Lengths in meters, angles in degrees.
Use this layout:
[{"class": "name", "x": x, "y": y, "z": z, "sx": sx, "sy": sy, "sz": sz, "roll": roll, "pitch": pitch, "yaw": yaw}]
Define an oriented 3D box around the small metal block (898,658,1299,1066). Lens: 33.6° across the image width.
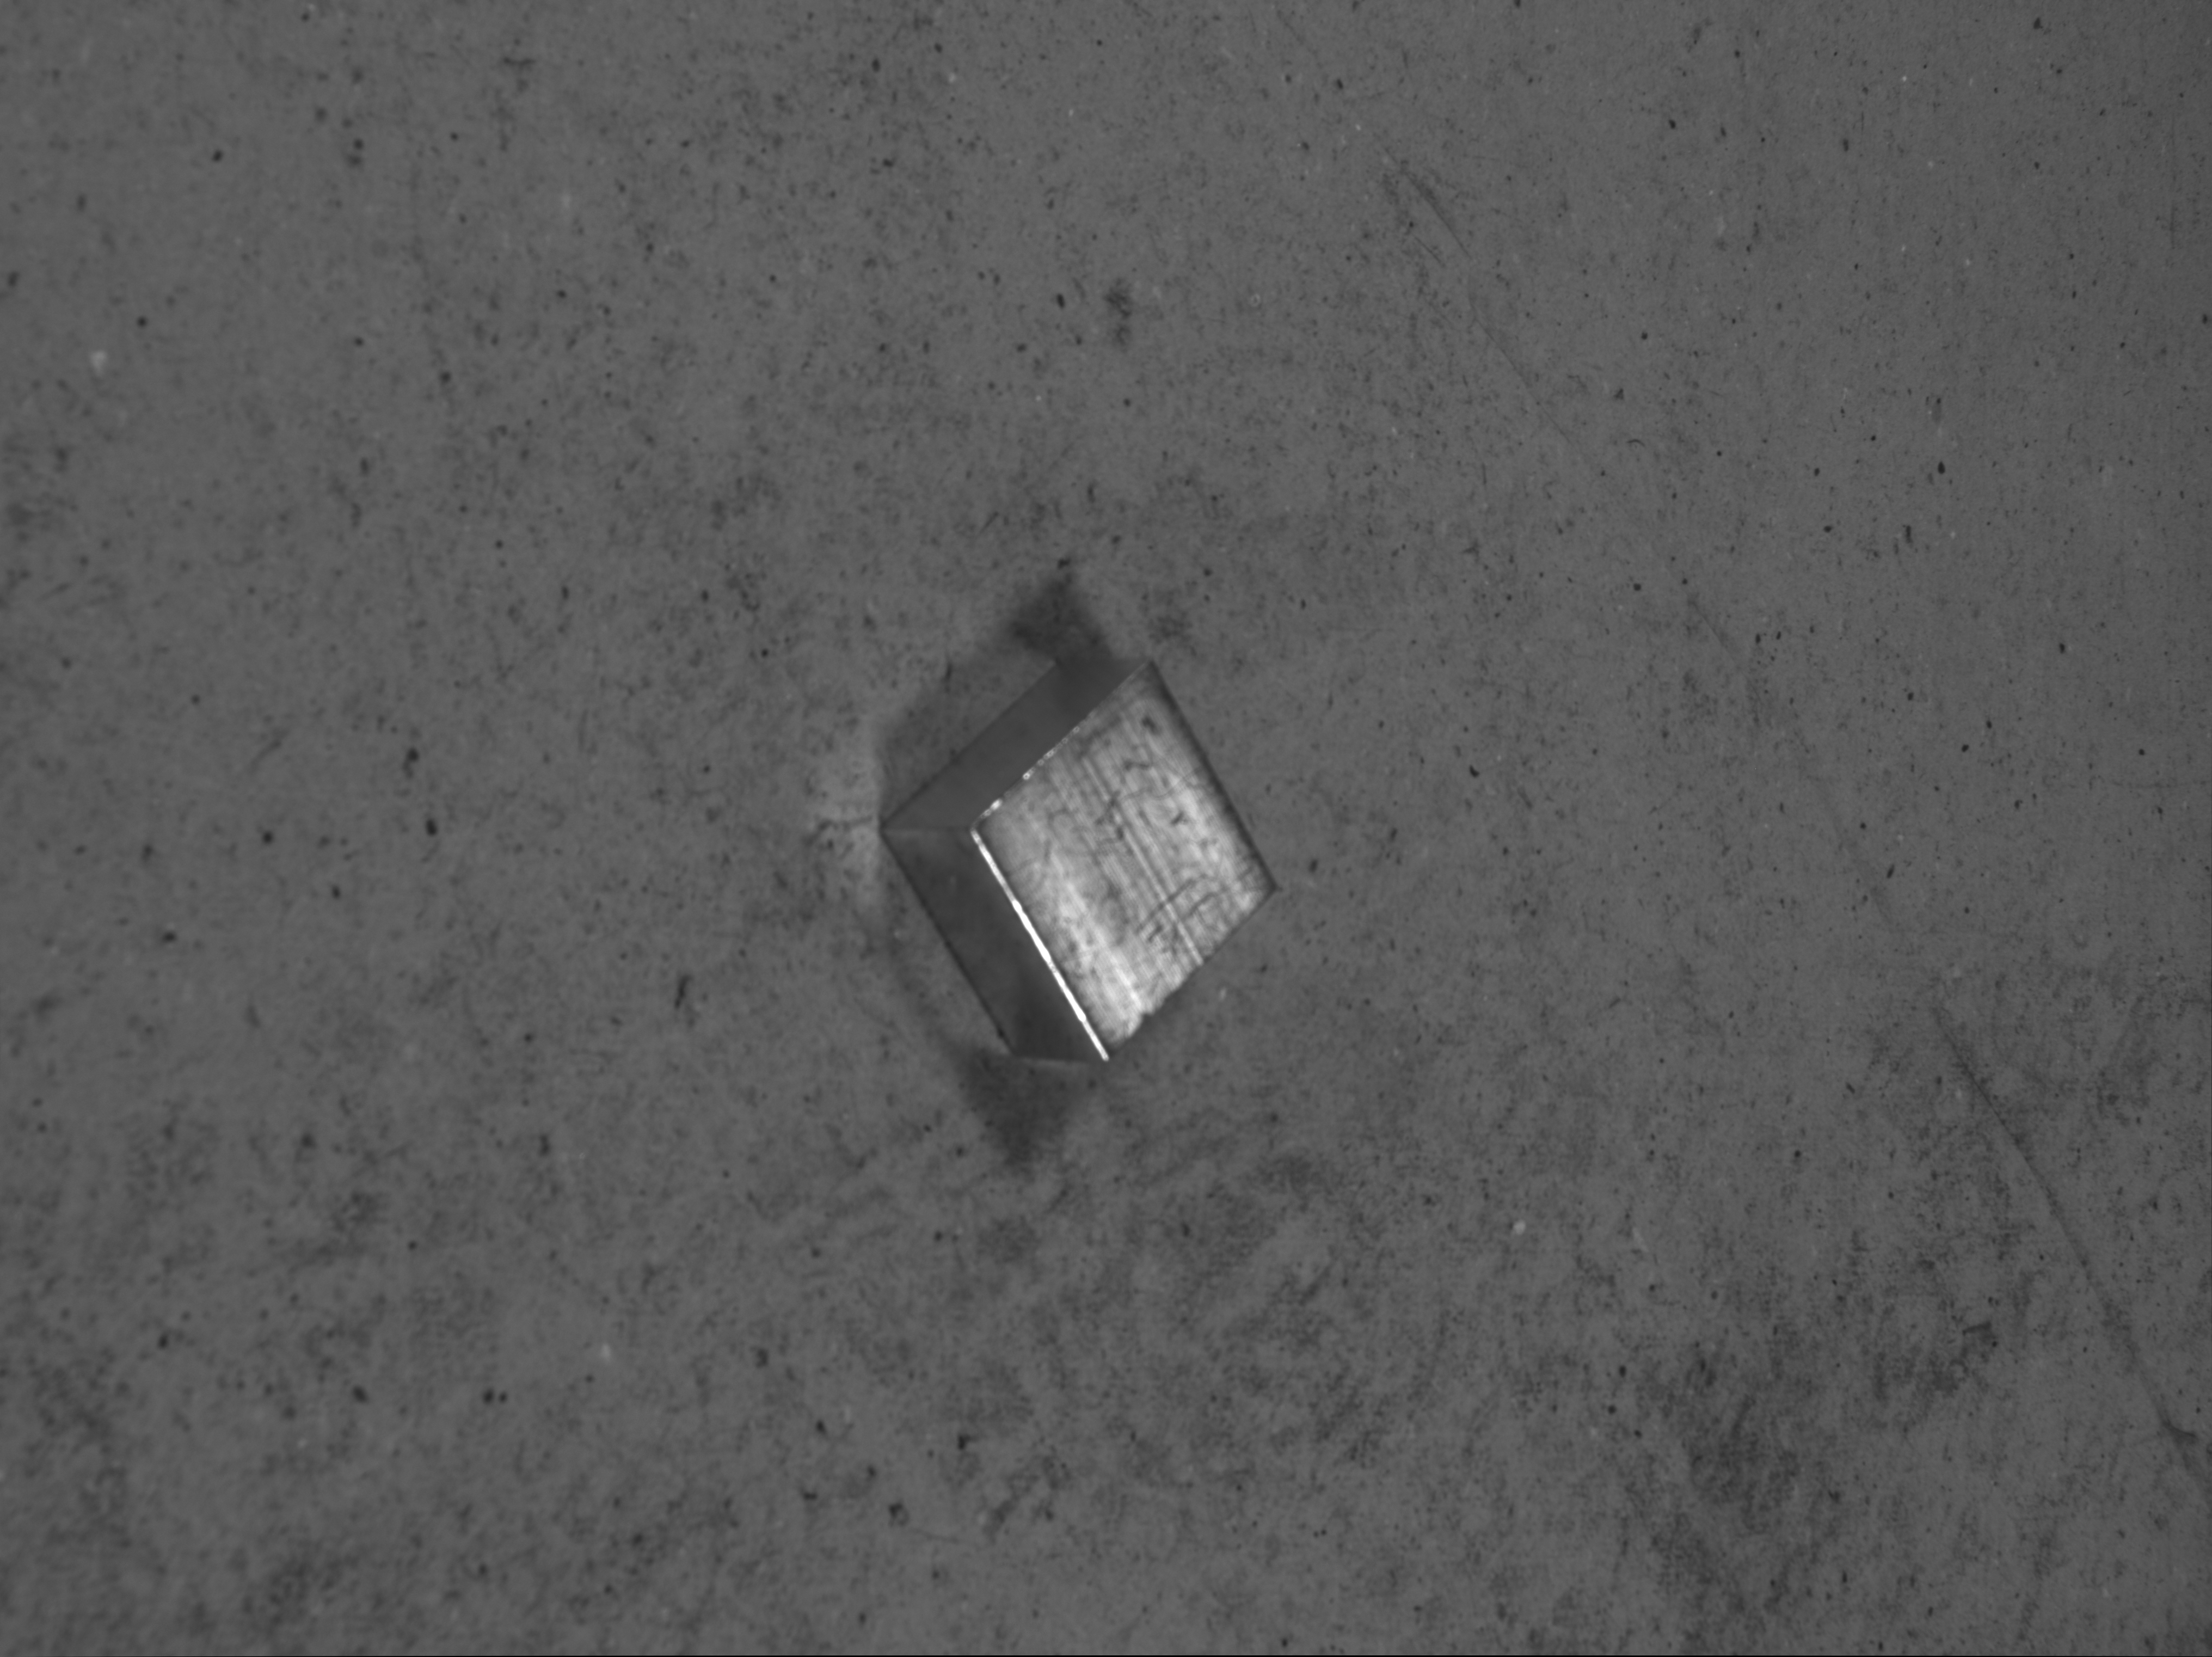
[{"class": "small metal block", "x": -0.001, "y": 0.006, "z": 0.637, "sx": 0.050, "sy": 0.025, "sz": 0.050, "roll": -44, "pitch": 116, "yaw": -31}]
